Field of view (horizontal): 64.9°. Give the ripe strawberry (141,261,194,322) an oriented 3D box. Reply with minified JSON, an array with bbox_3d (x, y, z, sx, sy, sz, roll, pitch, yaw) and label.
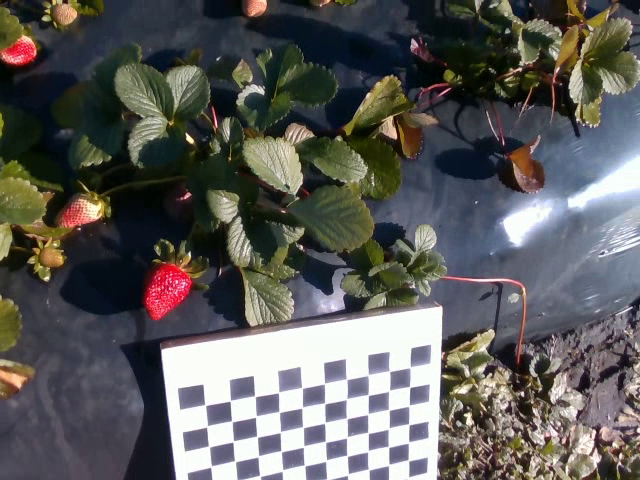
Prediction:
[{"bbox_3d":[-0.145,0.047,0.454,0.065,0.062,0.058,38,-59,-23],"label":"ripe strawberry"}]
